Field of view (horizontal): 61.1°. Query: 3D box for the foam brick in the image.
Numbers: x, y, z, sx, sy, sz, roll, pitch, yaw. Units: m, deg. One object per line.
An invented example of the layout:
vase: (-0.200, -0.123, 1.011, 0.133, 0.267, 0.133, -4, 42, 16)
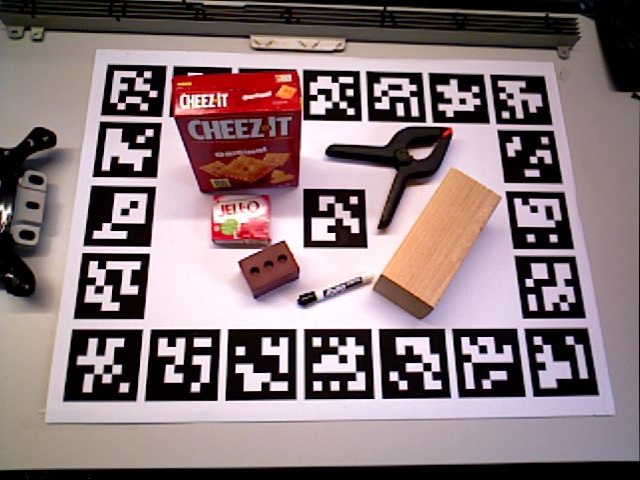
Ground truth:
foam brick: (-0.075, 0.051, 0.793, 0.077, 0.052, 0.052, -23, 77, -9)

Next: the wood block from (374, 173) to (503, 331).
wood block: (0.176, 0.018, 0.799, 0.090, 0.092, 0.203, 34, 72, 10)

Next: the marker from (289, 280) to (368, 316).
marker: (0.013, 0.087, 0.803, 0.120, 0.020, 0.019, -18, 76, -8)

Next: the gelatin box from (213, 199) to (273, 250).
gelatin box: (-0.117, -0.024, 0.828, 0.089, 0.030, 0.073, 0, 75, -3)

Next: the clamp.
clamp: (0.136, -0.119, 0.861, 0.201, 0.037, 0.165, -29, 78, -10)

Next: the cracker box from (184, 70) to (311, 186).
cracker box: (-0.095, -0.150, 0.761, 0.163, 0.217, 0.071, -2, 71, -6)
